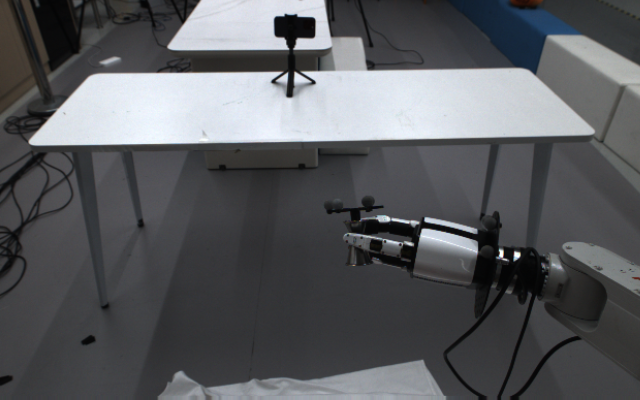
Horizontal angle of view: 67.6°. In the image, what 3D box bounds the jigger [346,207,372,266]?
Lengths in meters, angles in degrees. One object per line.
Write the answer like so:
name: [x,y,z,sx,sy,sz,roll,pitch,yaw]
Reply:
jigger: [0.057,0.064,0.748,0.043,0.071,0.043,-4,1,0]
